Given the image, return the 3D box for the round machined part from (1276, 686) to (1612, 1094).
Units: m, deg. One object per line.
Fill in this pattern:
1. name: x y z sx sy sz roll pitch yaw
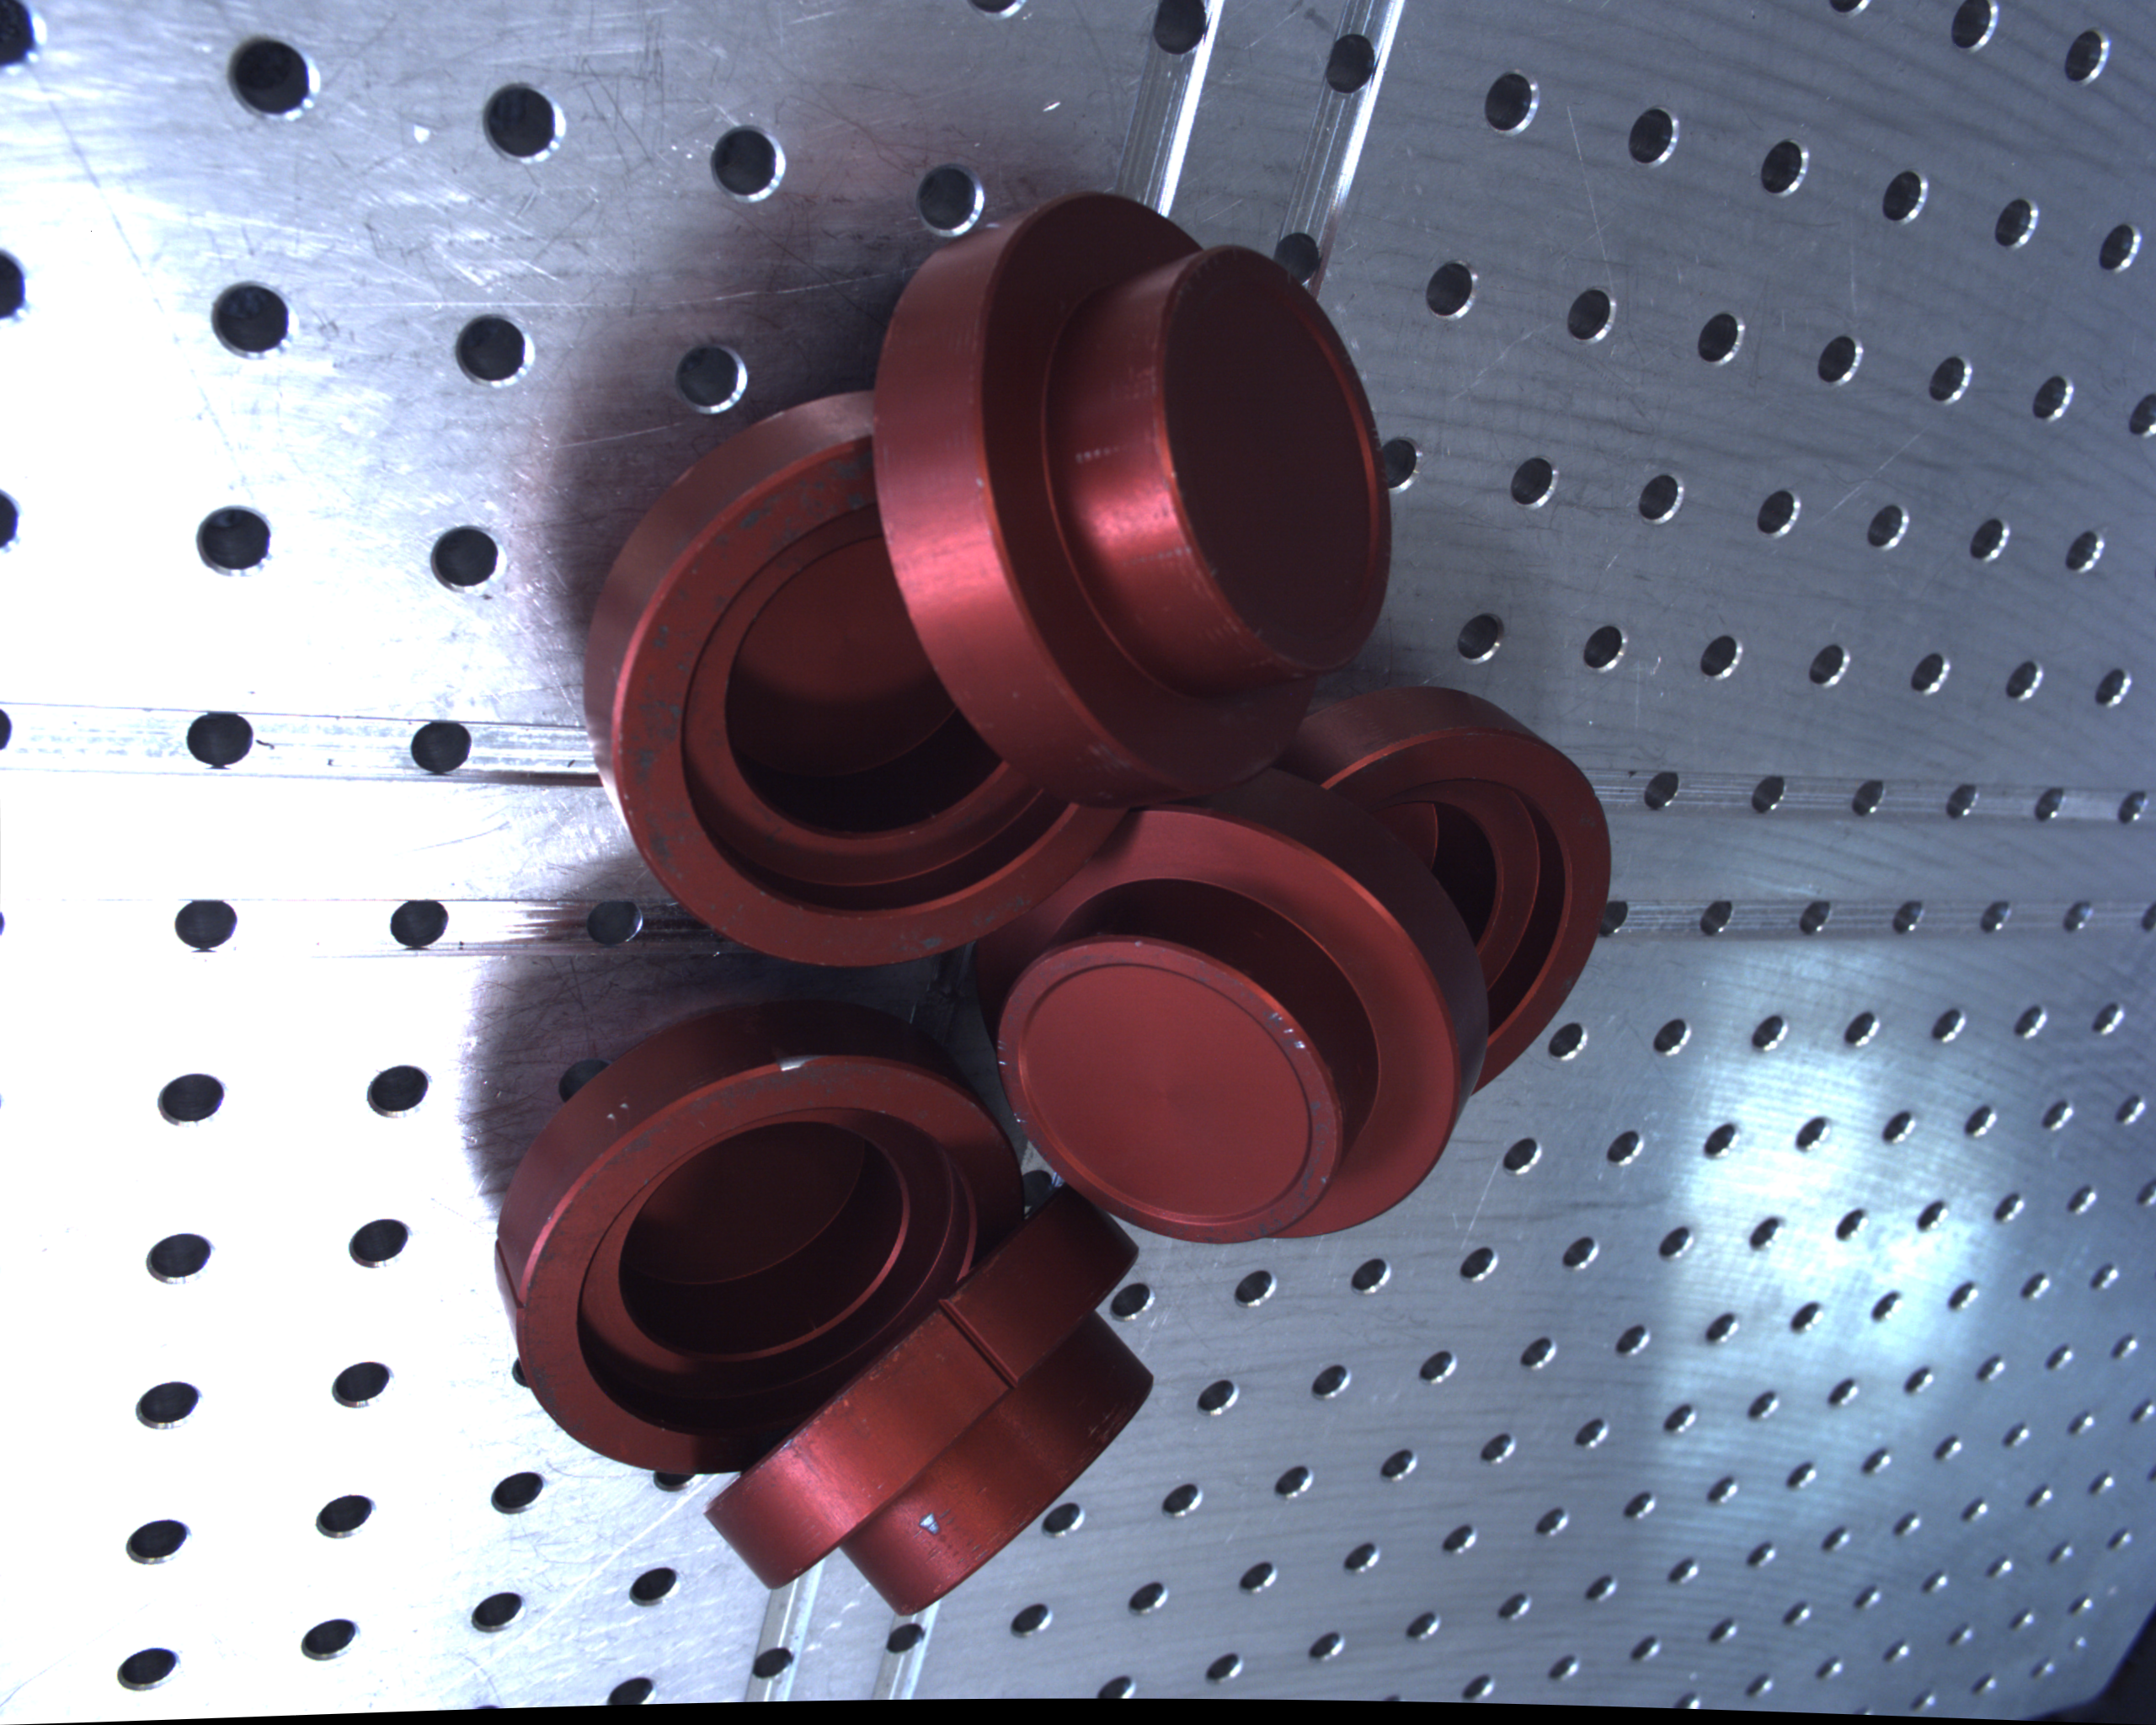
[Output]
1. round machined part: 0.058 0.007 0.435 0.099 0.042 0.097 -14 124 -21

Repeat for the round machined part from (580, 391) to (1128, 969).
1. round machined part: -0.036 -0.034 0.358 0.099 0.042 0.097 -14 124 -21

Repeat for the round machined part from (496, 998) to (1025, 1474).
1. round machined part: -0.063 0.067 0.406 0.099 0.042 0.097 -14 124 -21

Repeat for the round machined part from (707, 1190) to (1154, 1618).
1. round machined part: -0.023 0.111 0.418 0.098 0.098 0.042 -42 85 -4

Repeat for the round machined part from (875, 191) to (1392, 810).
1. round machined part: 0.016 -0.060 0.335 0.098 0.042 0.098 18 67 -51

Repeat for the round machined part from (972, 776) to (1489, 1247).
1. round machined part: 0.024 0.033 0.394 0.042 0.098 0.097 -51 148 -52
